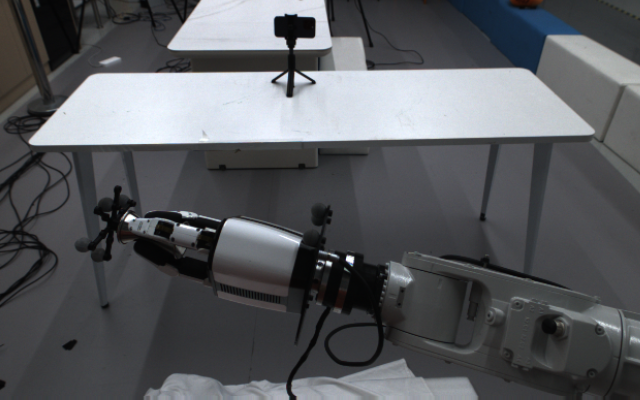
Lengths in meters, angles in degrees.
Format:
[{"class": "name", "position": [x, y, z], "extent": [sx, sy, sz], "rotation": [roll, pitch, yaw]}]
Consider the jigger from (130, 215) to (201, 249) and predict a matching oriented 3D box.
[{"class": "jigger", "position": [-0.180, 0.036, 0.548], "extent": [0.071, 0.043, 0.043], "rotation": [13, 36, 4]}]
